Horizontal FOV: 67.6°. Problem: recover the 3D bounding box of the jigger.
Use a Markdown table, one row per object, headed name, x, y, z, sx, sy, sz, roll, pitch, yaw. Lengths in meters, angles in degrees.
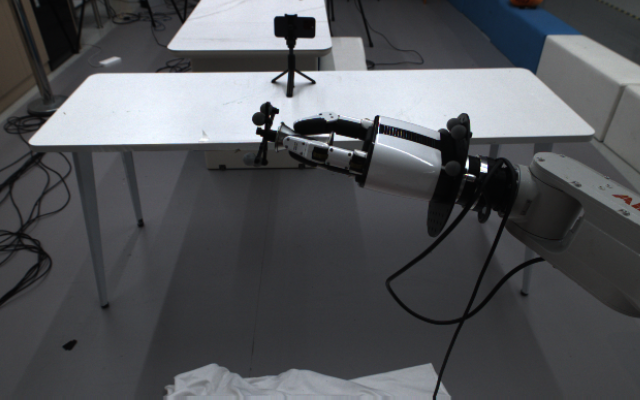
| name | x | y | z | sx | sy | sz | roll | pitch | yaw |
| --- | --- | --- | --- | --- | --- | --- | --- | --- | --- |
| jigger | -0.013 | -0.076 | 0.618 | 0.071 | 0.043 | 0.043 | 12 | 36 | 5 |
